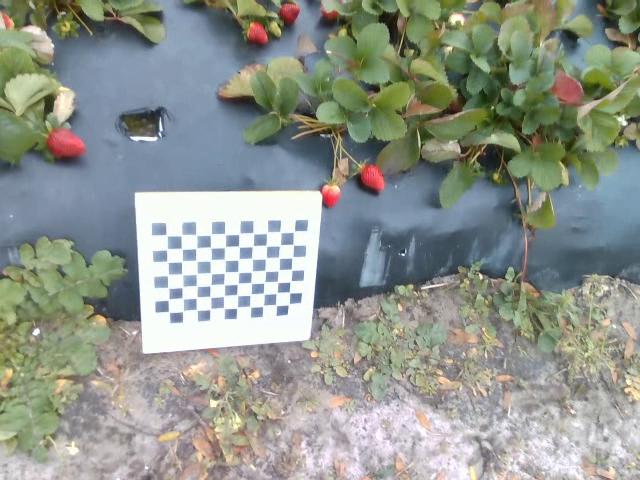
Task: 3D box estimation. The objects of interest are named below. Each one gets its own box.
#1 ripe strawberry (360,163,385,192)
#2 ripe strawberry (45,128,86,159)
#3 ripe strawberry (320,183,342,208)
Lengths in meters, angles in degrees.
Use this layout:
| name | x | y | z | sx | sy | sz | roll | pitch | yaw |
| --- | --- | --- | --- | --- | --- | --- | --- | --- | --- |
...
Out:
| name | x | y | z | sx | sy | sz | roll | pitch | yaw |
| --- | --- | --- | --- | --- | --- | --- | --- | --- | --- |
| ripe strawberry | 0.092 | -0.106 | 1.118 | 0.044 | 0.059 | 0.042 | -40 | 7 | 15 |
| ripe strawberry | -0.378 | -0.141 | 0.997 | 0.064 | 0.046 | 0.049 | 19 | 28 | 10 |
| ripe strawberry | 0.022 | -0.074 | 1.096 | 0.036 | 0.041 | 0.027 | 1 | 6 | -8 |
